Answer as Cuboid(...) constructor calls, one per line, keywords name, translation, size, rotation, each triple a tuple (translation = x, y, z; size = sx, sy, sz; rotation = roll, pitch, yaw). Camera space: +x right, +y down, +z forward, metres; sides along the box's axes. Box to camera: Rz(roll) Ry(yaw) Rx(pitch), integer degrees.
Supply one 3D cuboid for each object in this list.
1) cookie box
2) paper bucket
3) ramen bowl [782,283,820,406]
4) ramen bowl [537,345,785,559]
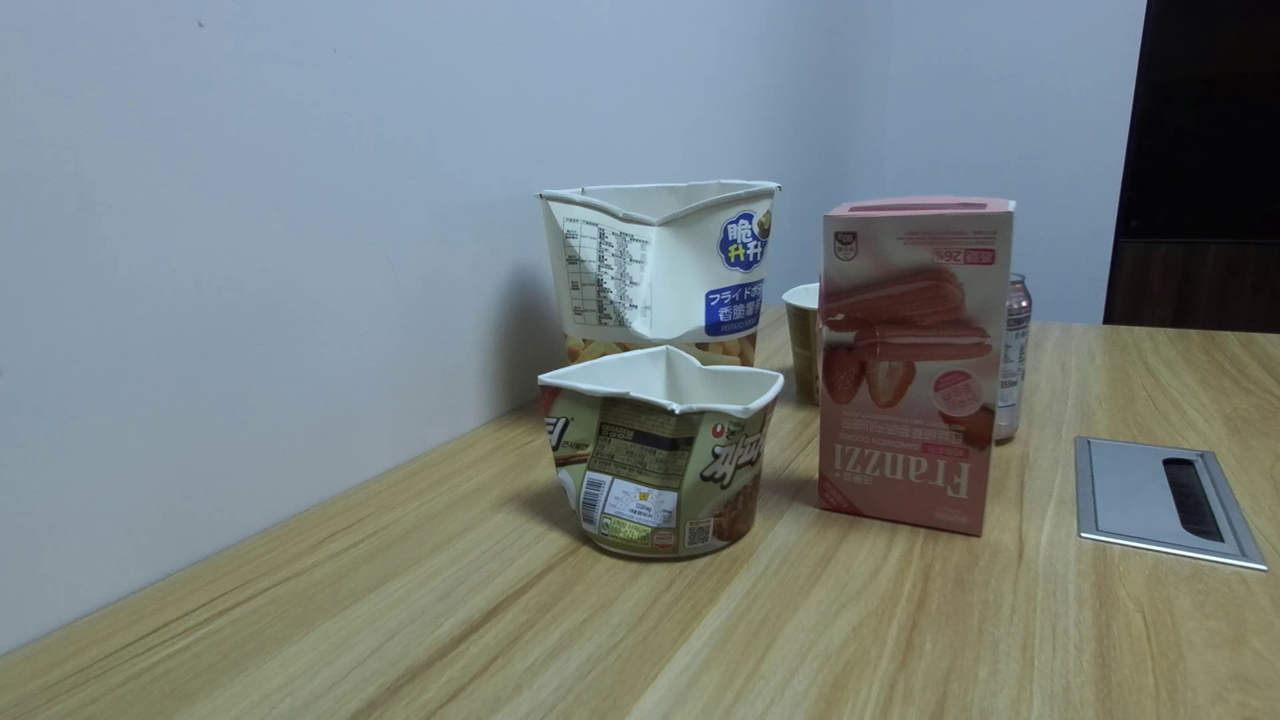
Cuboid(name="cookie box", translation=(0.154, 0.002, 0.412), size=(0.105, 0.187, 0.049), rotation=(6, 19, 27))
Cuboid(name="paper bucket", translation=(0.008, -0.044, 0.586), size=(0.163, 0.202, 0.168), rotation=(-10, 14, -19))
Cuboid(name="ramen bowl", translation=(0.195, -0.013, 0.629), size=(0.140, 0.095, 0.140), rotation=(-3, 14, 1))
Cuboid(name="ramen bowl", translation=(0.019, 0.053, 0.424), size=(0.112, 0.093, 0.127), rotation=(-15, 21, -37))
